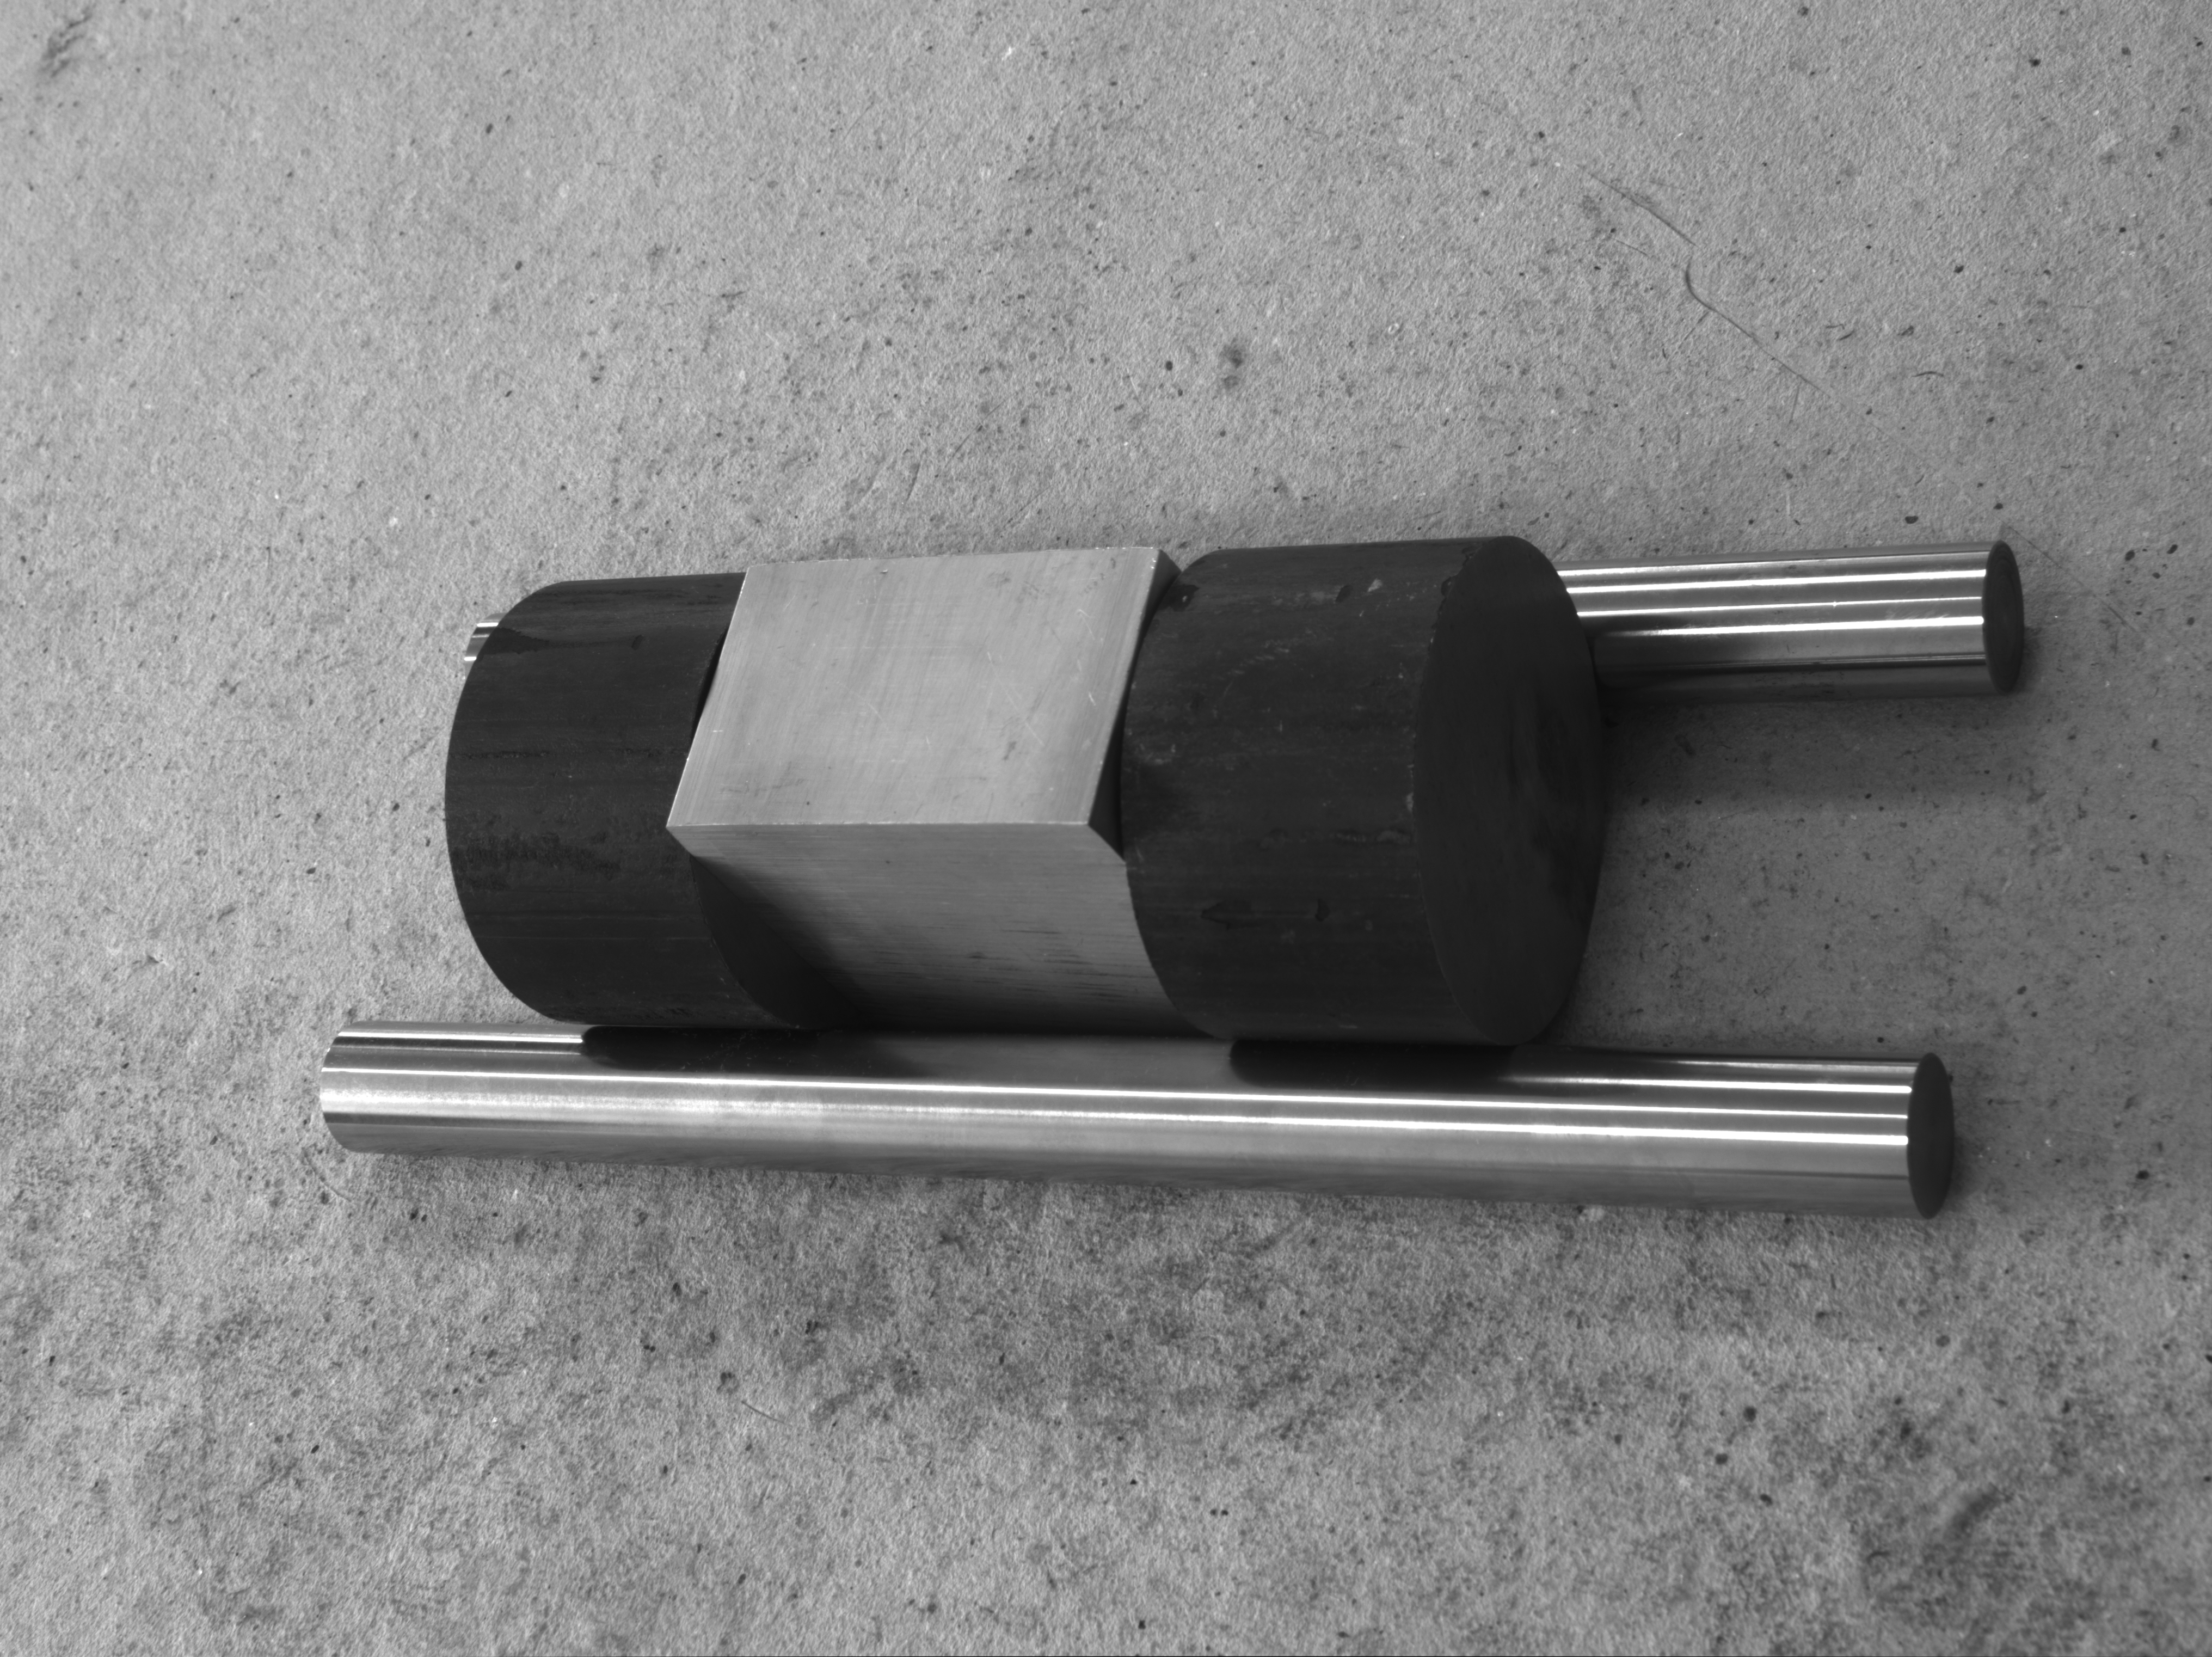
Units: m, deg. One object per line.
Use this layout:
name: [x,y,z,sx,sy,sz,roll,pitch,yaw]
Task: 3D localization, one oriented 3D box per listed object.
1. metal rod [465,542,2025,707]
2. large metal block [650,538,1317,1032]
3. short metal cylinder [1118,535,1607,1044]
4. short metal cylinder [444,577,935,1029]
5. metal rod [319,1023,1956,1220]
metal rod: [0.012,-0.032,0.659,0.299,0.025,0.025,-1,61,28]
large metal block: [-0.016,-0.005,0.619,0.080,0.080,0.050,0,62,29]
short metal cylinder: [0.043,-0.006,0.590,0.050,0.080,0.080,-1,61,28]
short metal cylinder: [-0.072,-0.005,0.652,0.050,0.080,0.080,-1,61,28]
metal rod: [-0.008,0.048,0.621,0.299,0.025,0.025,-1,61,28]
